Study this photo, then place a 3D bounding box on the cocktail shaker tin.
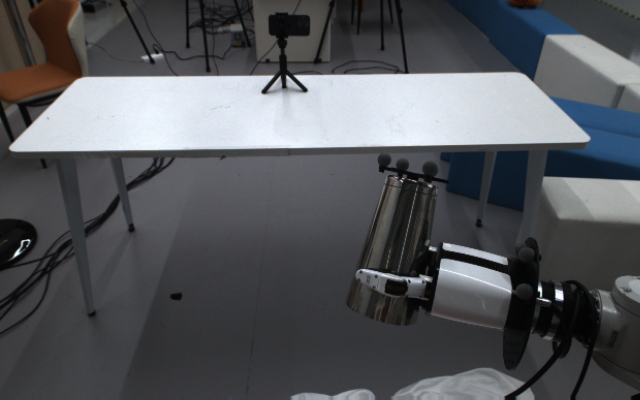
[{"bbox_3d":[0.097,0.059,0.610,0.093,0.170,0.093,13,4,-1],"label":"cocktail shaker tin"}]
